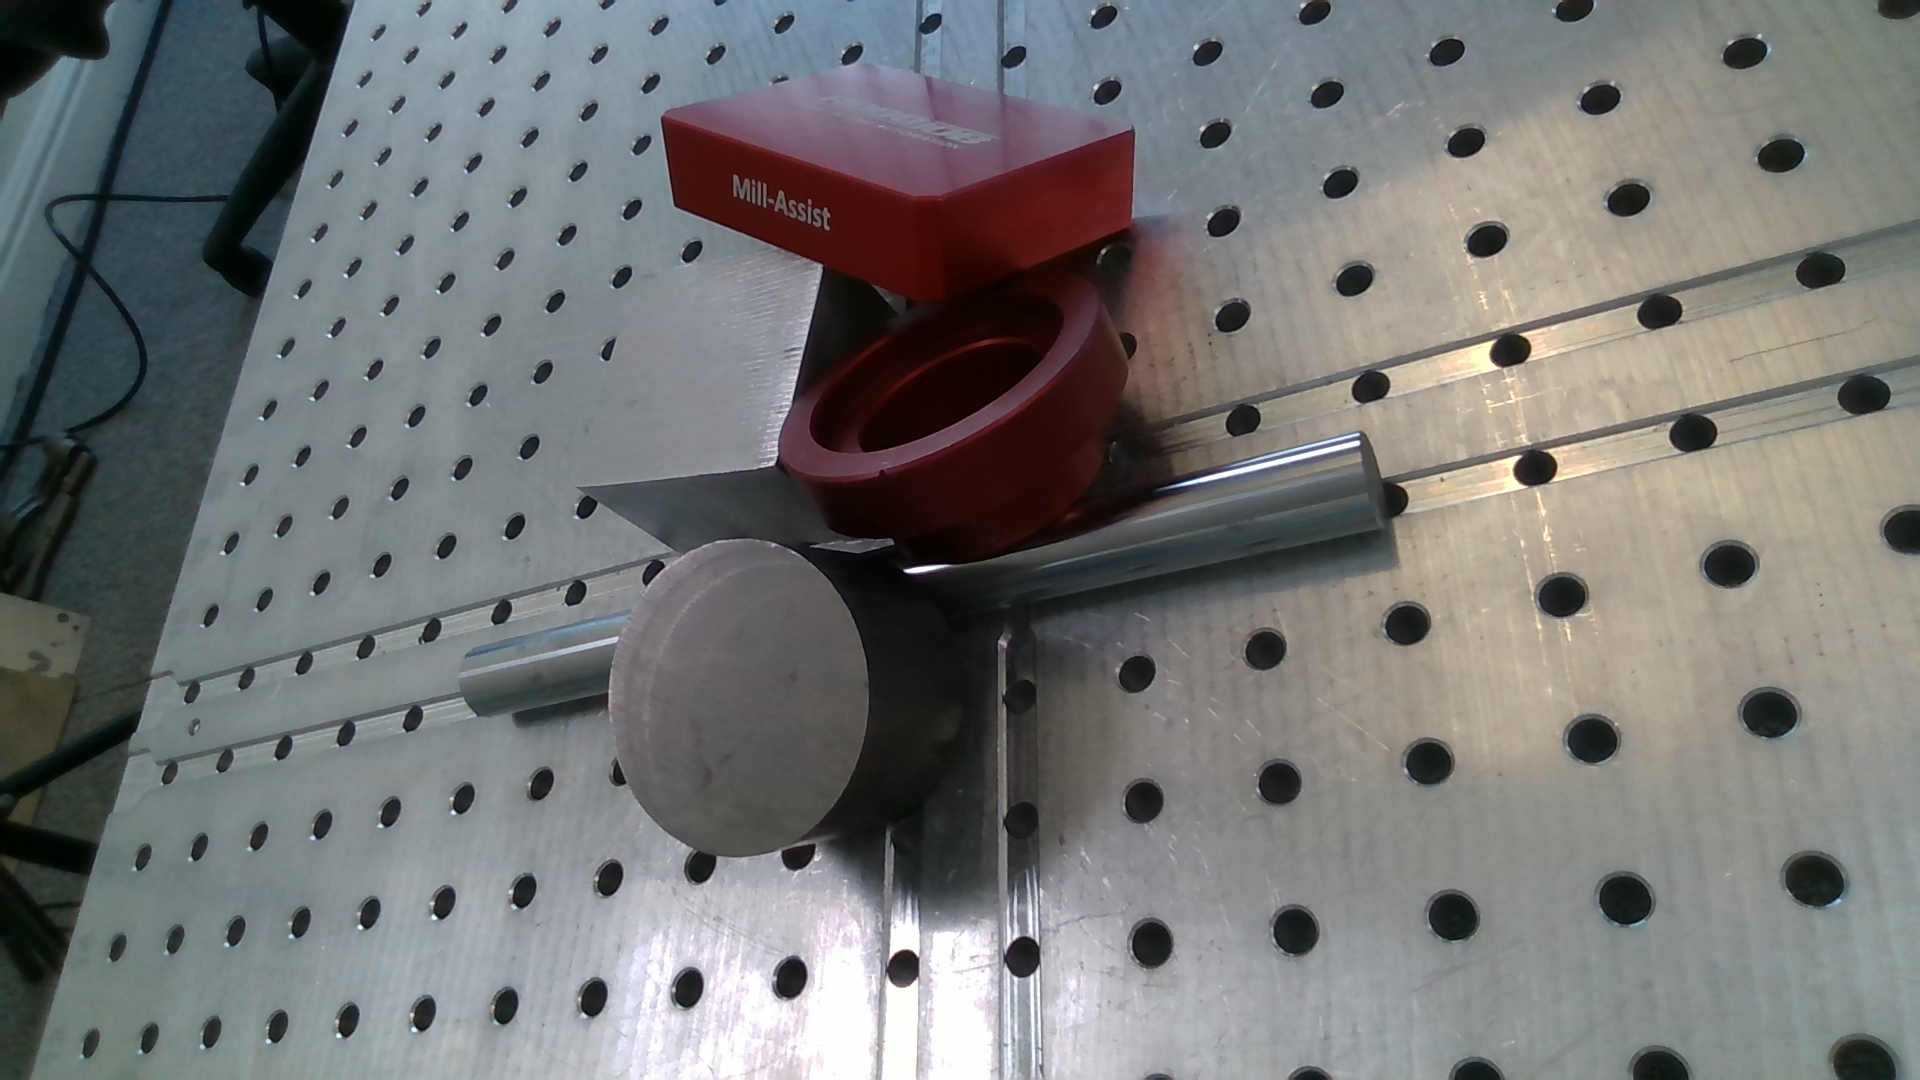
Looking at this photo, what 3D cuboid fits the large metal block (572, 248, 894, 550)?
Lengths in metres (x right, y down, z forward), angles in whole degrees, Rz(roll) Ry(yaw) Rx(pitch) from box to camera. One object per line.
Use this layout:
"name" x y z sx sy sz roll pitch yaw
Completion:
"large metal block" -0.069 -0.045 0.446 0.080 0.050 0.080 -4 64 30

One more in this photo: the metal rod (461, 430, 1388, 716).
"metal rod" -0.029 0.017 0.406 0.300 0.025 0.025 -13 59 25

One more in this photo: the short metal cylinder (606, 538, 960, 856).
"short metal cylinder" -0.047 0.041 0.370 0.080 0.050 0.080 -3 84 27

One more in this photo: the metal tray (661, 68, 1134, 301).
"metal tray" -0.021 -0.118 0.437 0.090 0.030 0.130 -29 41 -35

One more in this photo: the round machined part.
"round machined part" 0.001 -0.032 0.385 0.098 0.042 0.098 -21 31 13
